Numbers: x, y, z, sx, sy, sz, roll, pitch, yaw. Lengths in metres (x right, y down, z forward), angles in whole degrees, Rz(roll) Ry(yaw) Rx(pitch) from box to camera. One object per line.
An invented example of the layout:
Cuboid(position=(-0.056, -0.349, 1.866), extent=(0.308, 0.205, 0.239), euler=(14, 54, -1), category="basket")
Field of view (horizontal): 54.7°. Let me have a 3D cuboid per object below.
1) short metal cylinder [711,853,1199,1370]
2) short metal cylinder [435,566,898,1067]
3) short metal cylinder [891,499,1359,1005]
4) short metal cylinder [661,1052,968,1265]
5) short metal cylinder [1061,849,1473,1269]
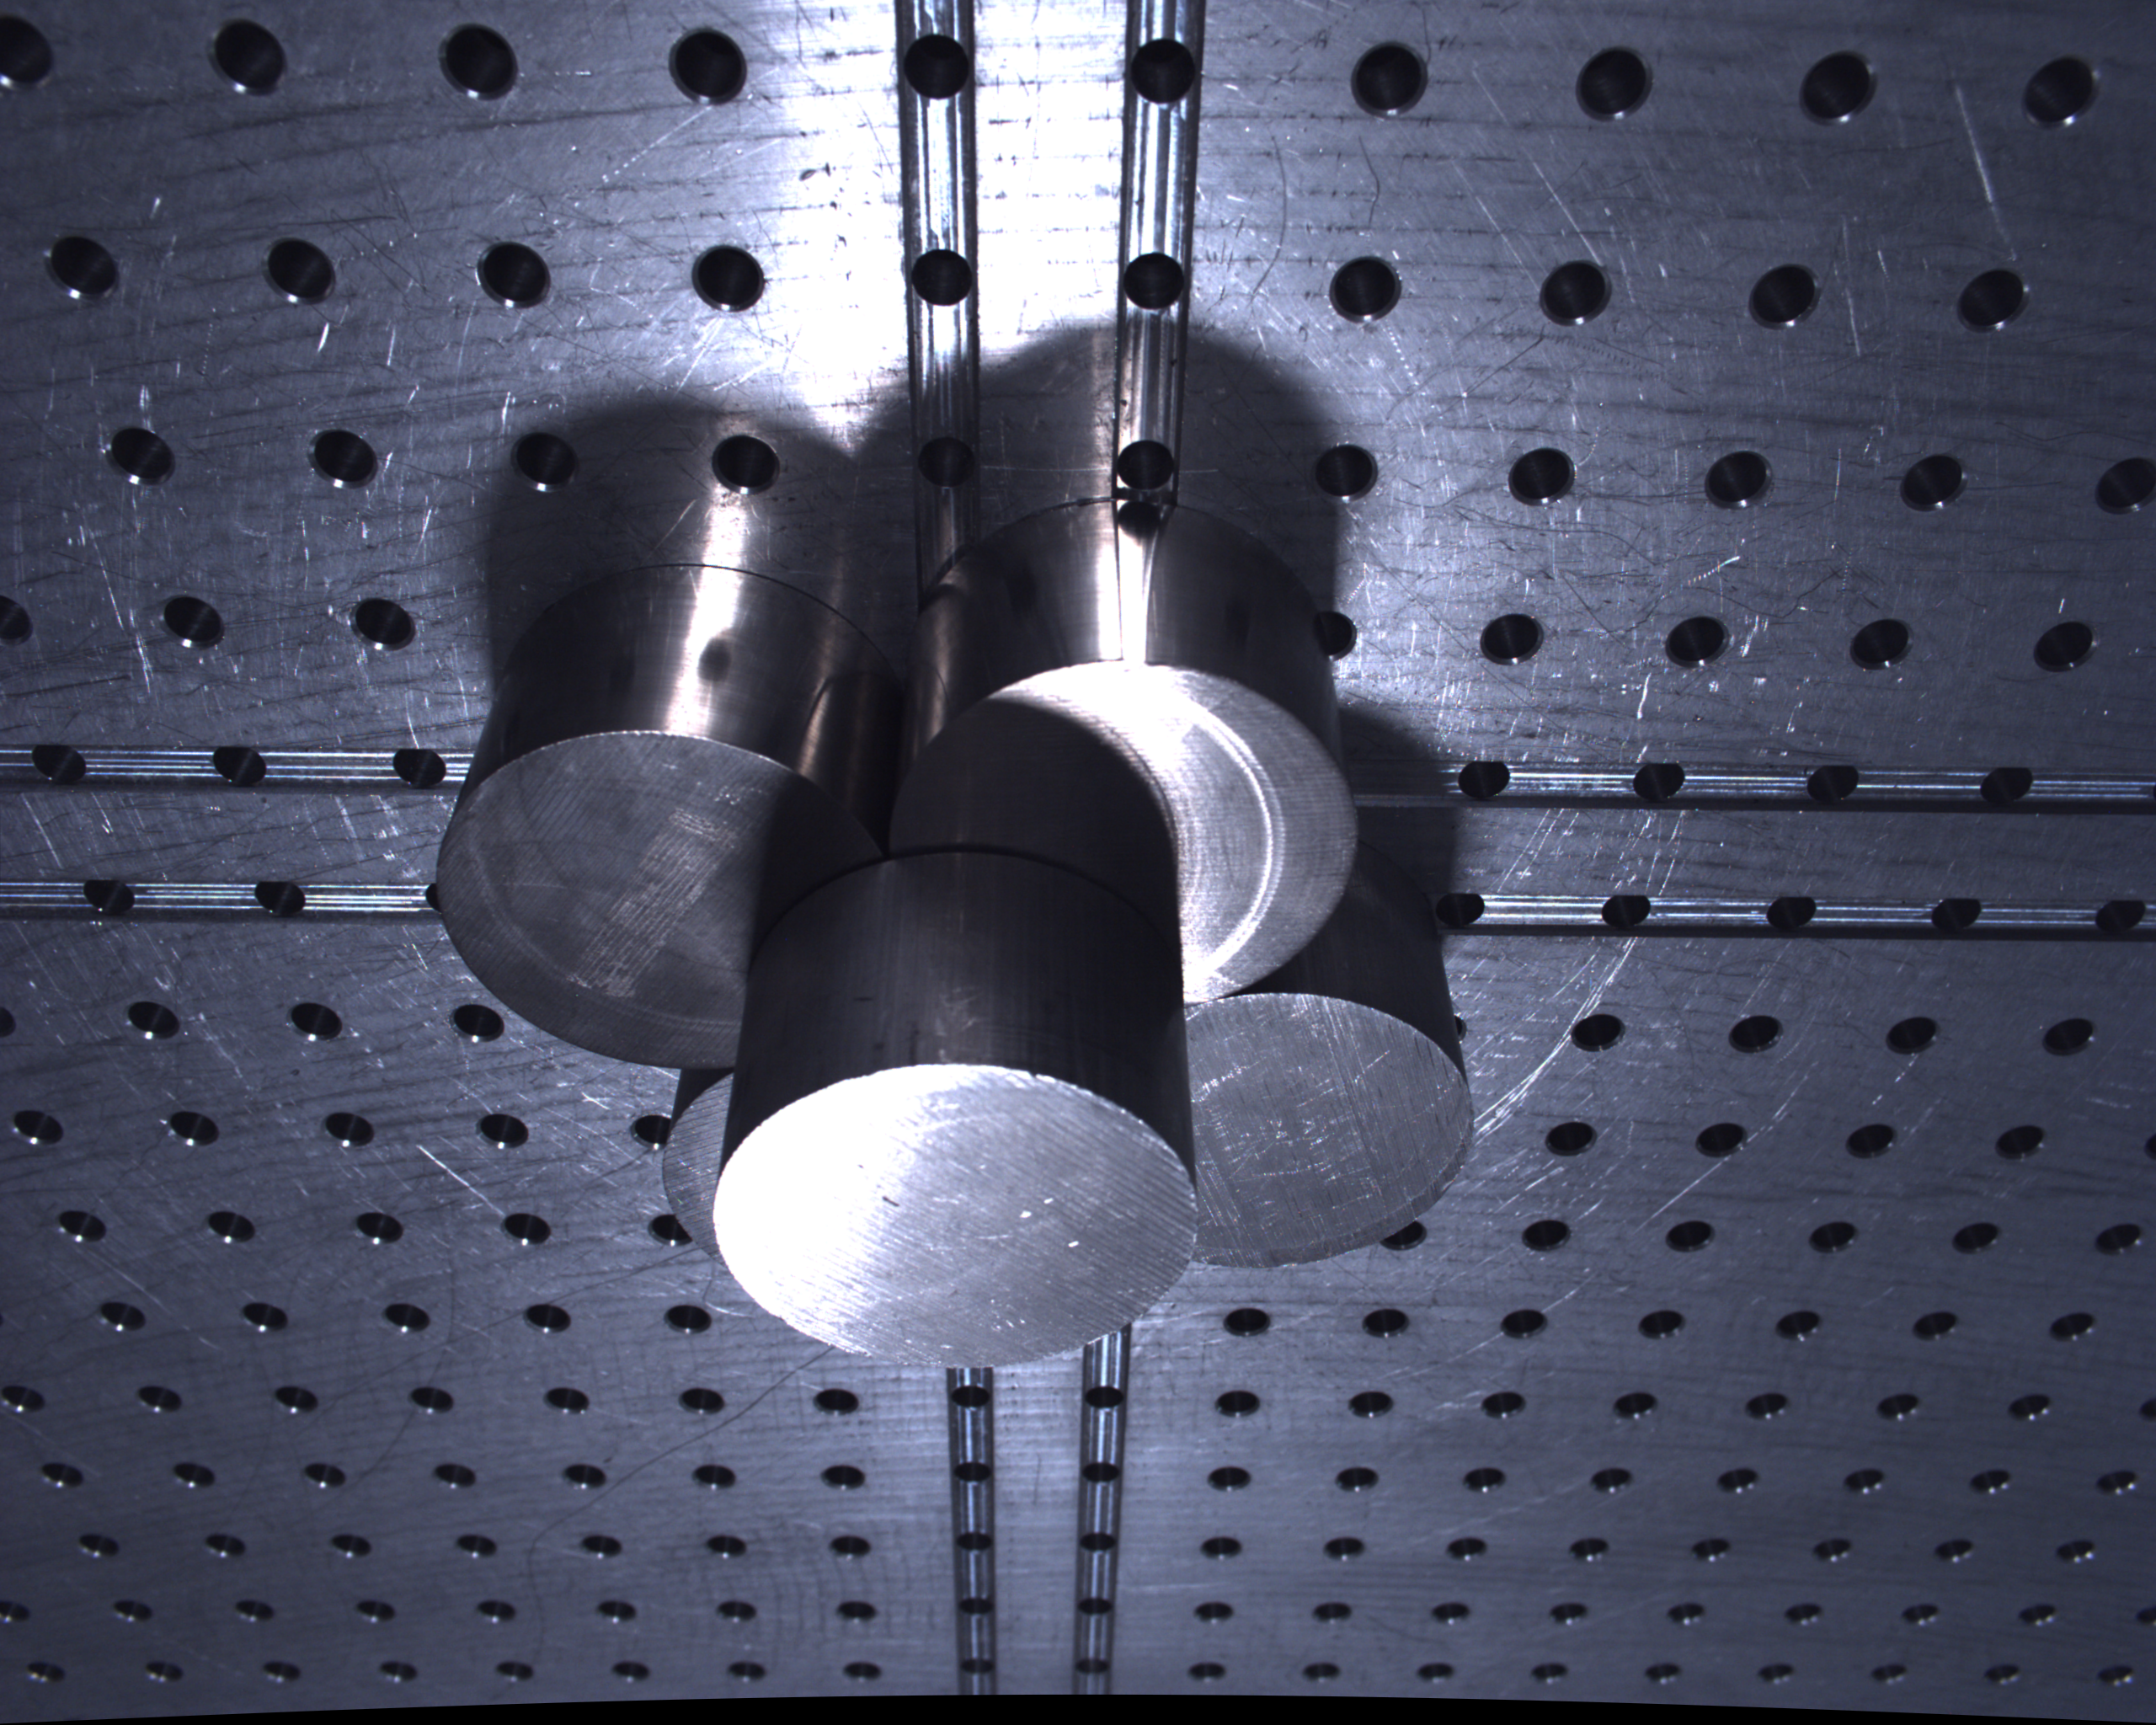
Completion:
Cuboid(position=(-0.021, 0.045, 0.365), extent=(0.081, 0.050, 0.079), euler=(-1, 132, -1), category="short metal cylinder")
Cuboid(position=(-0.072, -0.008, 0.387), extent=(0.081, 0.050, 0.079), euler=(0, 130, 0), category="short metal cylinder")
Cuboid(position=(0.008, -0.018, 0.379), extent=(0.081, 0.050, 0.079), euler=(0, 130, 0), category="short metal cylinder")
Cuboid(position=(-0.043, 0.049, 0.435), extent=(0.081, 0.050, 0.079), euler=(0, 130, 0), category="short metal cylinder")
Cuboid(position=(0.037, 0.038, 0.428), extent=(0.081, 0.050, 0.079), euler=(0, 130, 0), category="short metal cylinder")
